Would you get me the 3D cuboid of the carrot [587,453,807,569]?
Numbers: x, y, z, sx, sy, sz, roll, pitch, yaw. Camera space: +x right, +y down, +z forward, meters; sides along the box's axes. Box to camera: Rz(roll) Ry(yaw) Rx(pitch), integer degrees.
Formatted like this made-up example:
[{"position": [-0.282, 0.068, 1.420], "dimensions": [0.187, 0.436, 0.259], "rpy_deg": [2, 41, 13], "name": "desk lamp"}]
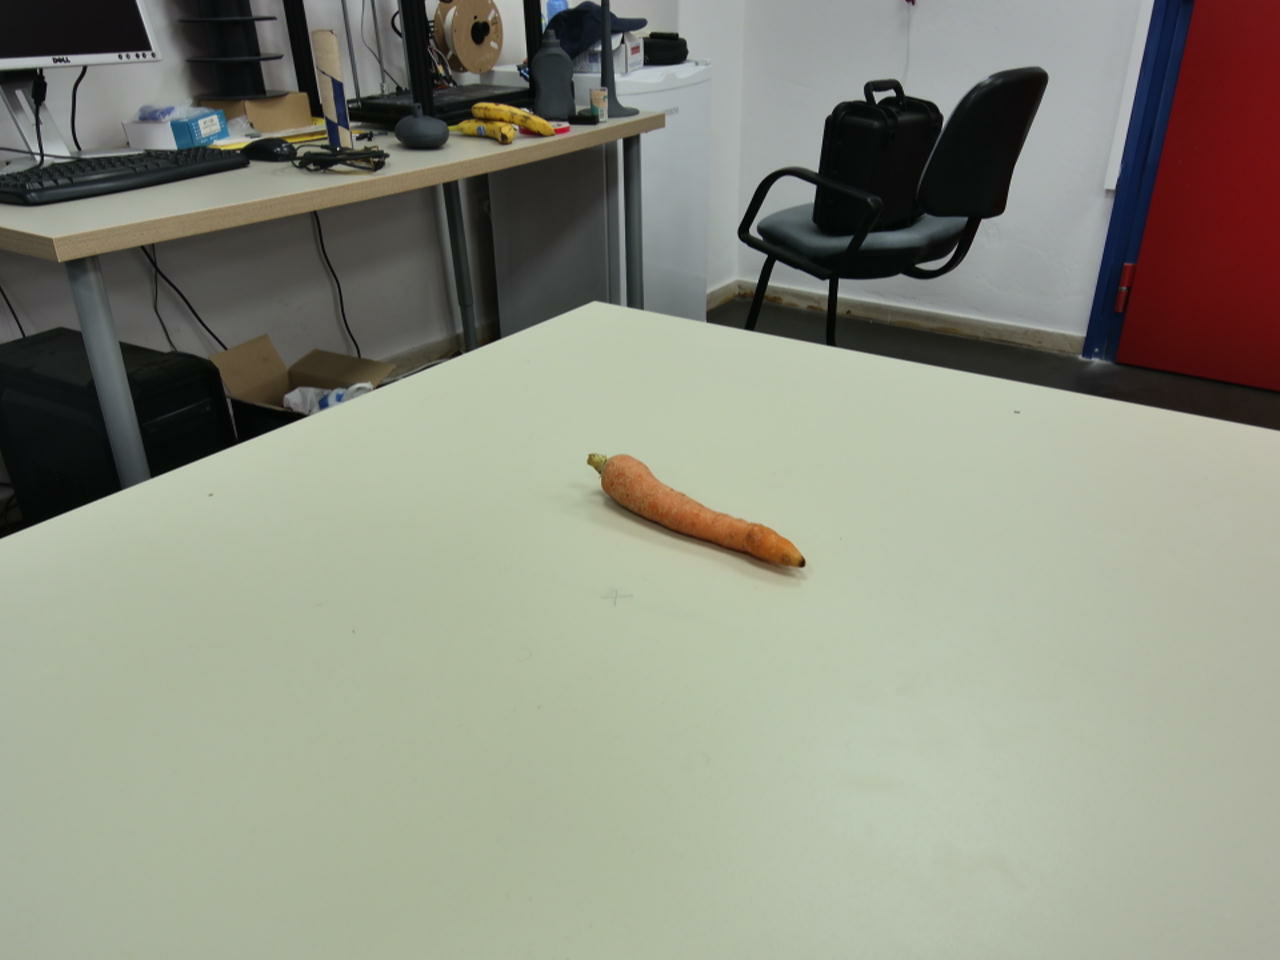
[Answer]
[{"position": [0.030, 0.017, 0.614], "dimensions": [0.030, 0.032, 0.173], "rpy_deg": [-23, 33, -39], "name": "carrot"}]
